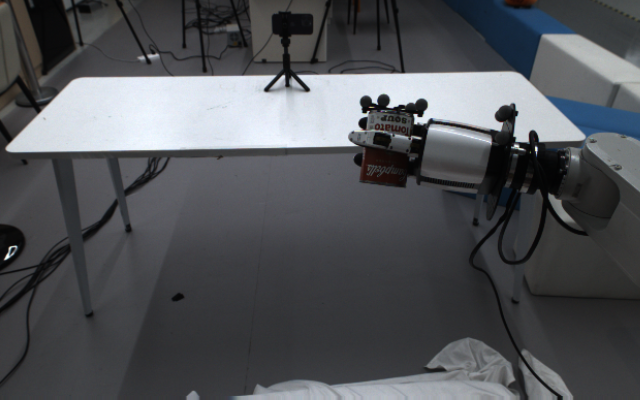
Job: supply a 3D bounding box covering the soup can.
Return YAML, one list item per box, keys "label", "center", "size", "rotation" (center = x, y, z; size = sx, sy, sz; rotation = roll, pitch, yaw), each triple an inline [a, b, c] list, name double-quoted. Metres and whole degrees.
- label: "soup can"
  center: [0.096, -0.072, 0.685]
  size: [0.067, 0.101, 0.067]
  rotation: [7, 3, 0]
